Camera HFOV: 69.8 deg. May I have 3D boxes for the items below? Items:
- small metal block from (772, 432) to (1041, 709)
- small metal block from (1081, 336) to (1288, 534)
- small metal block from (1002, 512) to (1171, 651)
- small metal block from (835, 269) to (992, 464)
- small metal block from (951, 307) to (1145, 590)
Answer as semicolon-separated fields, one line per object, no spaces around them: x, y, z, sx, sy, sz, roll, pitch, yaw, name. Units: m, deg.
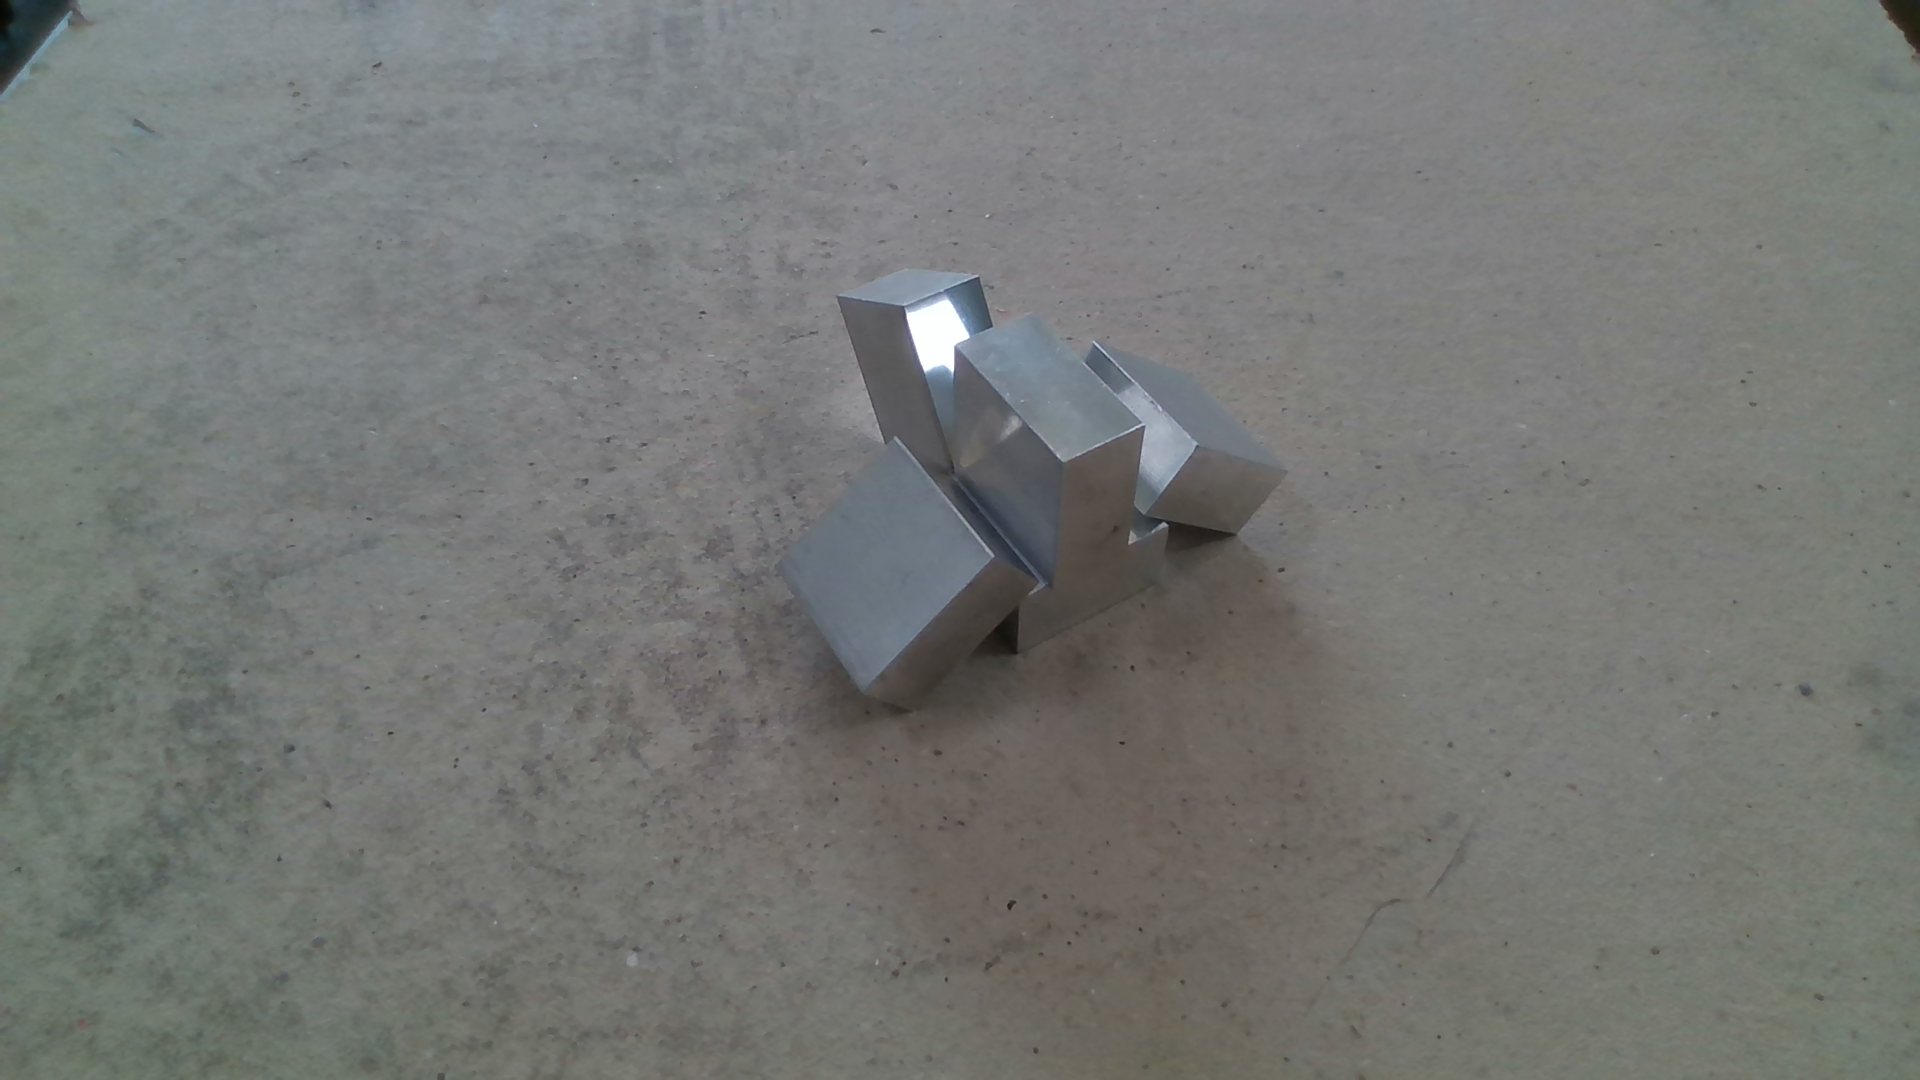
-0.015;0.008;0.371;0.050;0.025;0.050;-46;56;10;small metal block
0.060;-0.030;0.402;0.050;0.025;0.050;9;34;-49;small metal block
0.024;-0.003;0.397;0.050;0.025;0.050;-25;52;-20;small metal block
-0.009;-0.053;0.409;0.025;0.050;0.050;-26;22;-19;small metal block
0.022;-0.024;0.365;0.025;0.050;0.050;-26;54;-19;small metal block
